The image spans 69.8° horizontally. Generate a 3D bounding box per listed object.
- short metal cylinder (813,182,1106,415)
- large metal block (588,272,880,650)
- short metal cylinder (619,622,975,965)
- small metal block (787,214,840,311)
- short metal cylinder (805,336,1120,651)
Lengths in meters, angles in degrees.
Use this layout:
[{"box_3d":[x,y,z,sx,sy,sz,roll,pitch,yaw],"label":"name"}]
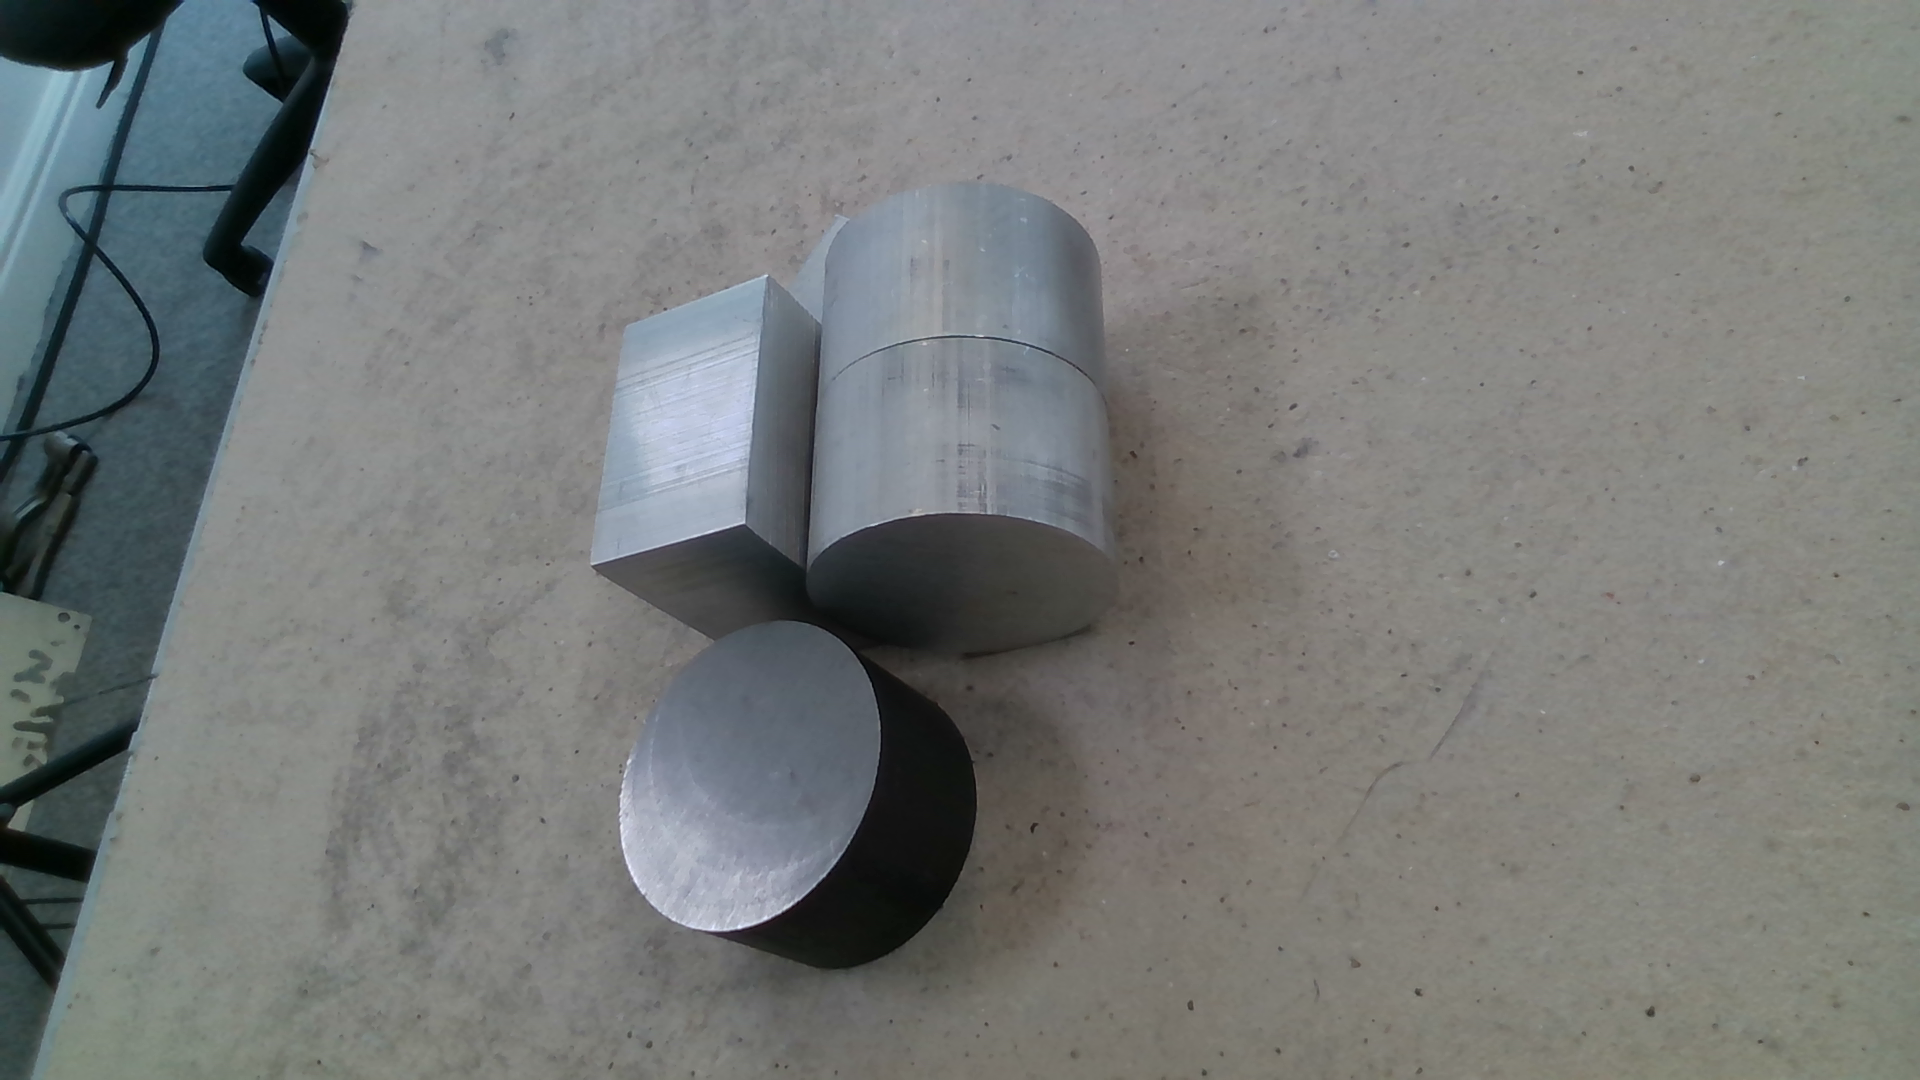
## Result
[{"box_3d":[0.000,-0.054,0.386,0.080,0.080,0.050,-14,59,25],"label":"short metal cylinder"},{"box_3d":[-0.057,-0.017,0.402,0.050,0.080,0.080,-14,59,25],"label":"large metal block"},{"box_3d":[-0.043,0.068,0.367,0.080,0.050,0.080,-14,59,25],"label":"short metal cylinder"},{"box_3d":[-0.032,-0.074,0.453,0.050,0.025,0.050,27,82,38],"label":"small metal block"},{"box_3d":[0.001,-0.010,0.363,0.080,0.080,0.050,-14,59,25],"label":"short metal cylinder"}]
